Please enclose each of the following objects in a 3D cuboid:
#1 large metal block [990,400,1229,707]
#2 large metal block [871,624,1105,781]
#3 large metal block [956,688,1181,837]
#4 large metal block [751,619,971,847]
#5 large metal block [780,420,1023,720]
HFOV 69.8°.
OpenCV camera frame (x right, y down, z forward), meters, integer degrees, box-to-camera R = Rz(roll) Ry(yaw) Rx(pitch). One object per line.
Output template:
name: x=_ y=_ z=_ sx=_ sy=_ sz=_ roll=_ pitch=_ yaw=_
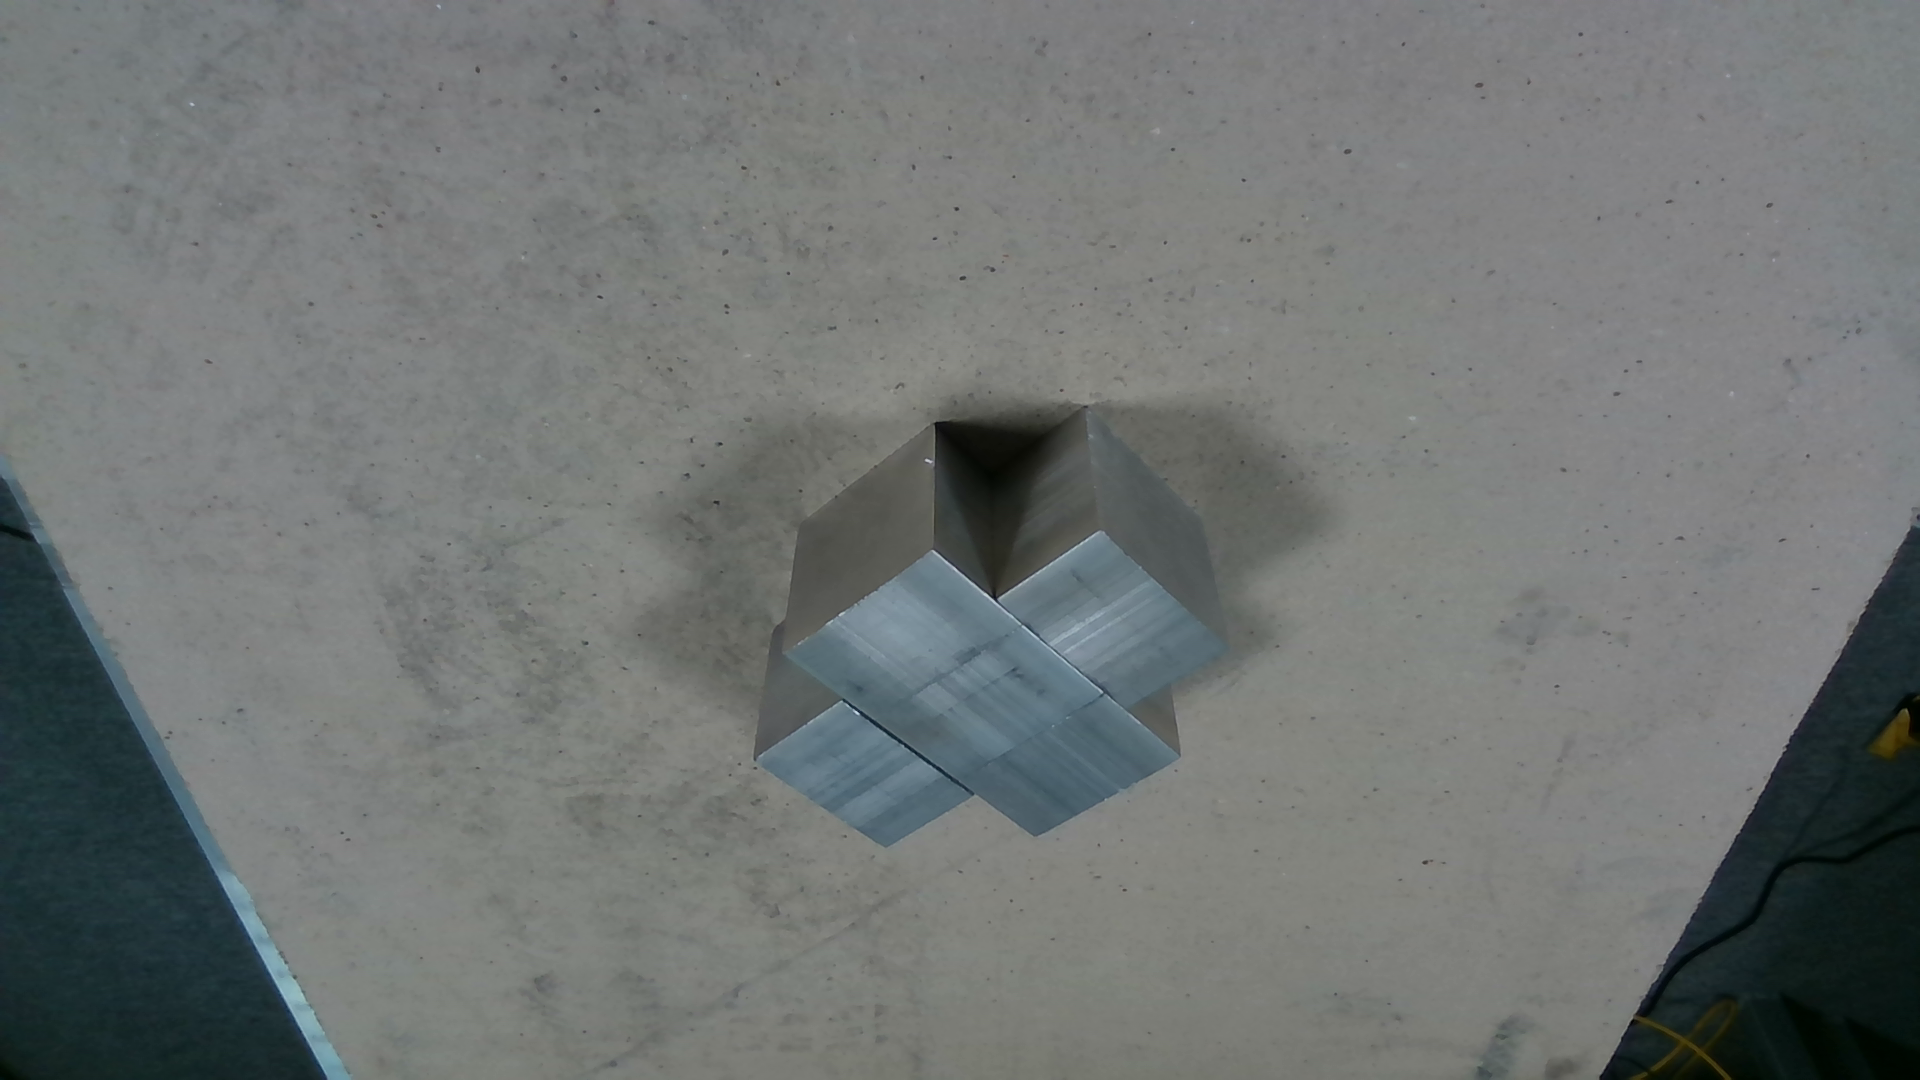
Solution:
large metal block: x=0.058 y=0.005 z=0.549 sx=0.050 sy=0.080 sz=0.080 roll=-35 pitch=122 yaw=26
large metal block: x=0.011 y=0.041 z=0.578 sx=0.080 sy=0.080 sz=0.050 roll=-35 pitch=122 yaw=26
large metal block: x=0.045 y=0.070 z=0.603 sx=0.080 sy=0.080 sz=0.050 roll=-35 pitch=122 yaw=26
large metal block: x=-0.041 y=0.074 z=0.606 sx=0.050 sy=0.080 sz=0.080 roll=-35 pitch=122 yaw=26
large metal block: x=-0.023 y=0.012 z=0.554 sx=0.080 sy=0.080 sz=0.050 roll=-35 pitch=122 yaw=26
